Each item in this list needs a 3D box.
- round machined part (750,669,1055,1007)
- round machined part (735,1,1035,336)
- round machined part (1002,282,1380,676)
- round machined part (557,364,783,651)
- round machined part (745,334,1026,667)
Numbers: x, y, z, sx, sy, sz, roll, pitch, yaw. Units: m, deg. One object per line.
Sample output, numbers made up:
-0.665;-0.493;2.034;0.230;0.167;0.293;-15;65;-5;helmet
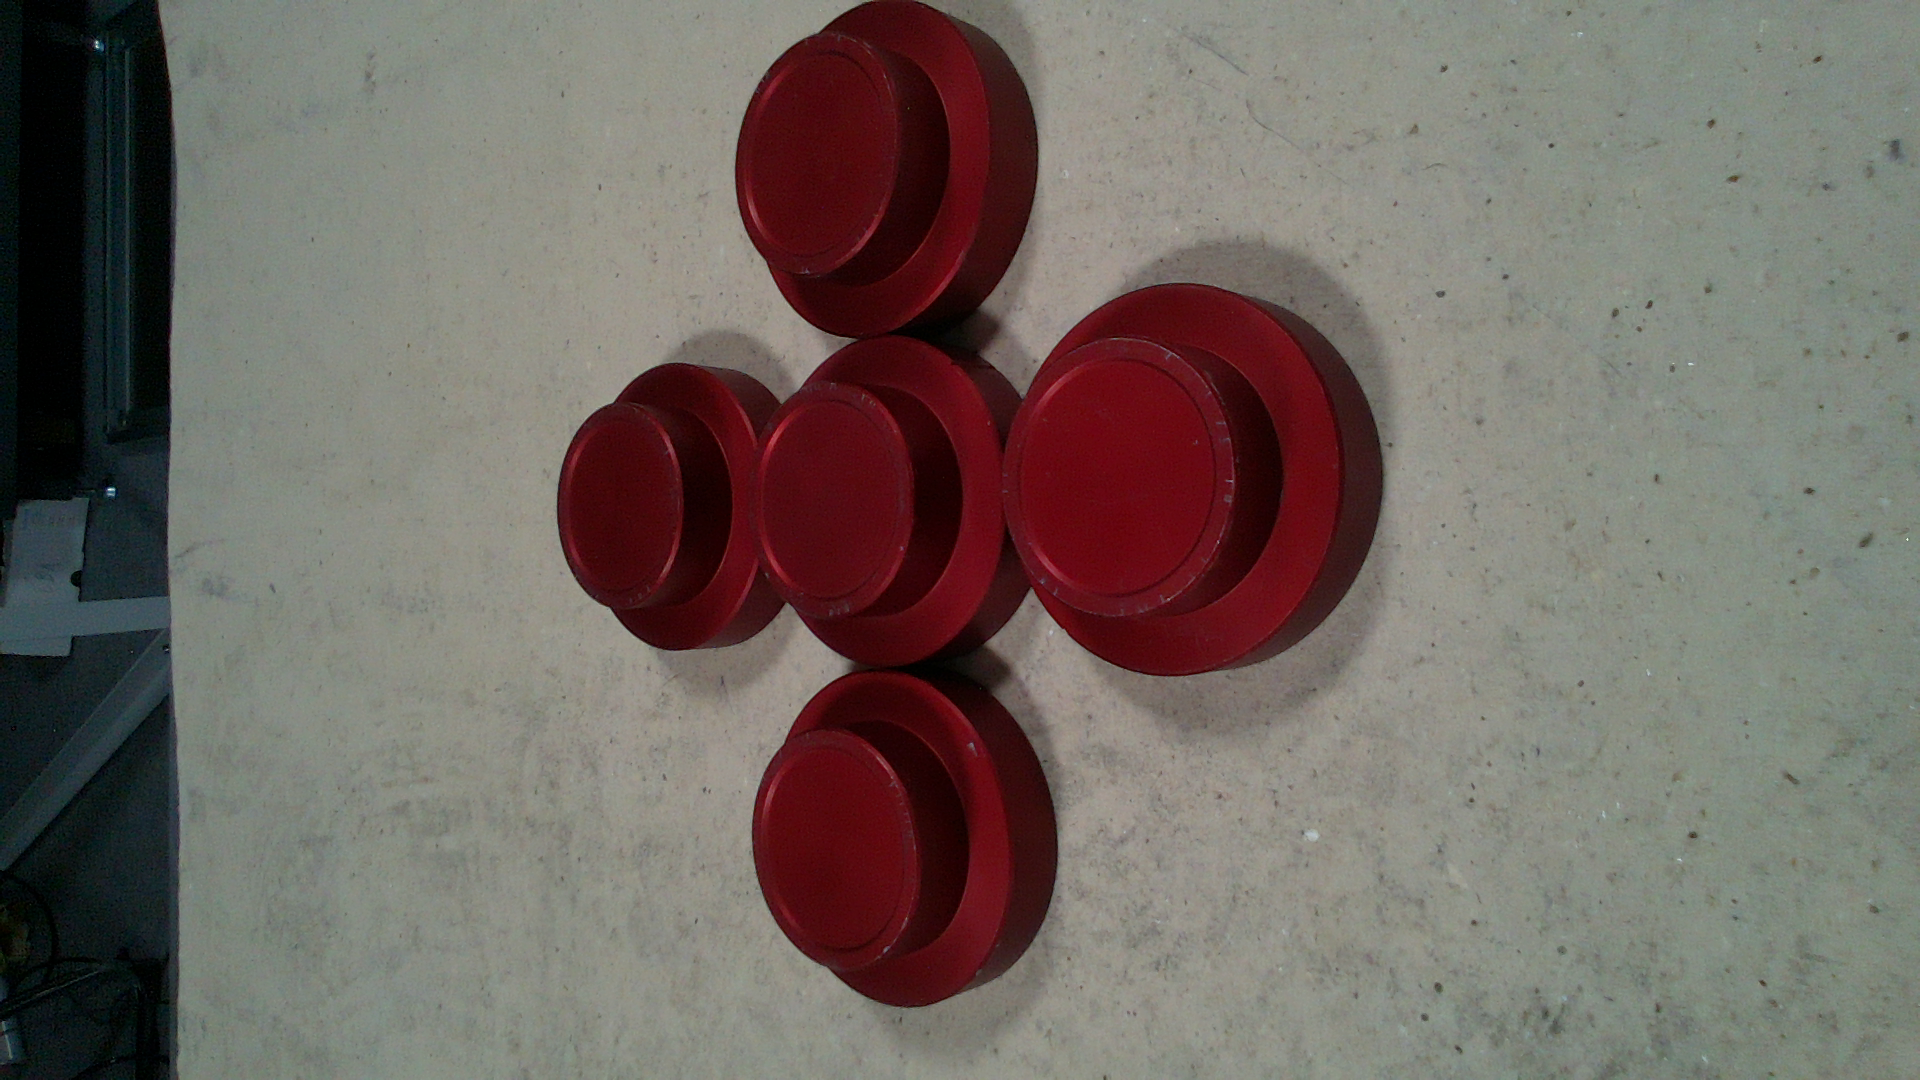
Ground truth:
-0.024;0.087;0.403;0.098;0.042;0.098;0;90;40;round machined part
-0.029;-0.110;0.408;0.098;0.042;0.098;0;90;40;round machined part
0.050;-0.015;0.342;0.098;0.042;0.098;0;90;40;round machined part
-0.100;-0.011;0.468;0.098;0.042;0.098;0;90;40;round machined part
-0.025;-0.012;0.405;0.098;0.042;0.098;0;90;40;round machined part
